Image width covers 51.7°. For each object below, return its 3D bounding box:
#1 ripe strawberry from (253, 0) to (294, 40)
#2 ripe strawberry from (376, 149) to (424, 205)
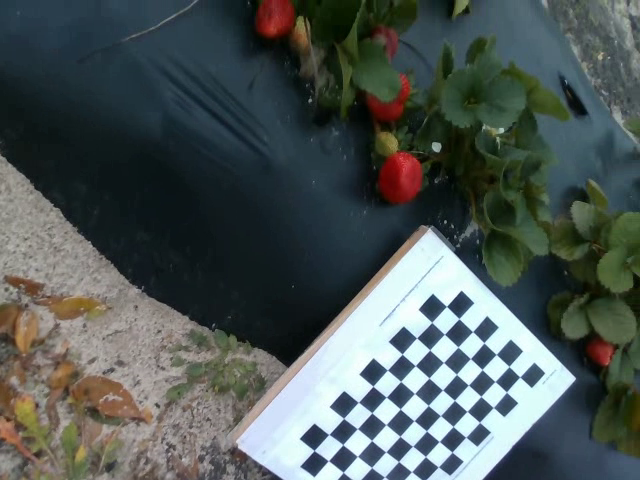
[{"bbox_3d":[-0.033,-0.196,0.580,0.044,0.052,0.041,25,-37,-17],"label":"ripe strawberry"},{"bbox_3d":[0.090,-0.054,0.647,0.057,0.056,0.065,7,17,0],"label":"ripe strawberry"}]
